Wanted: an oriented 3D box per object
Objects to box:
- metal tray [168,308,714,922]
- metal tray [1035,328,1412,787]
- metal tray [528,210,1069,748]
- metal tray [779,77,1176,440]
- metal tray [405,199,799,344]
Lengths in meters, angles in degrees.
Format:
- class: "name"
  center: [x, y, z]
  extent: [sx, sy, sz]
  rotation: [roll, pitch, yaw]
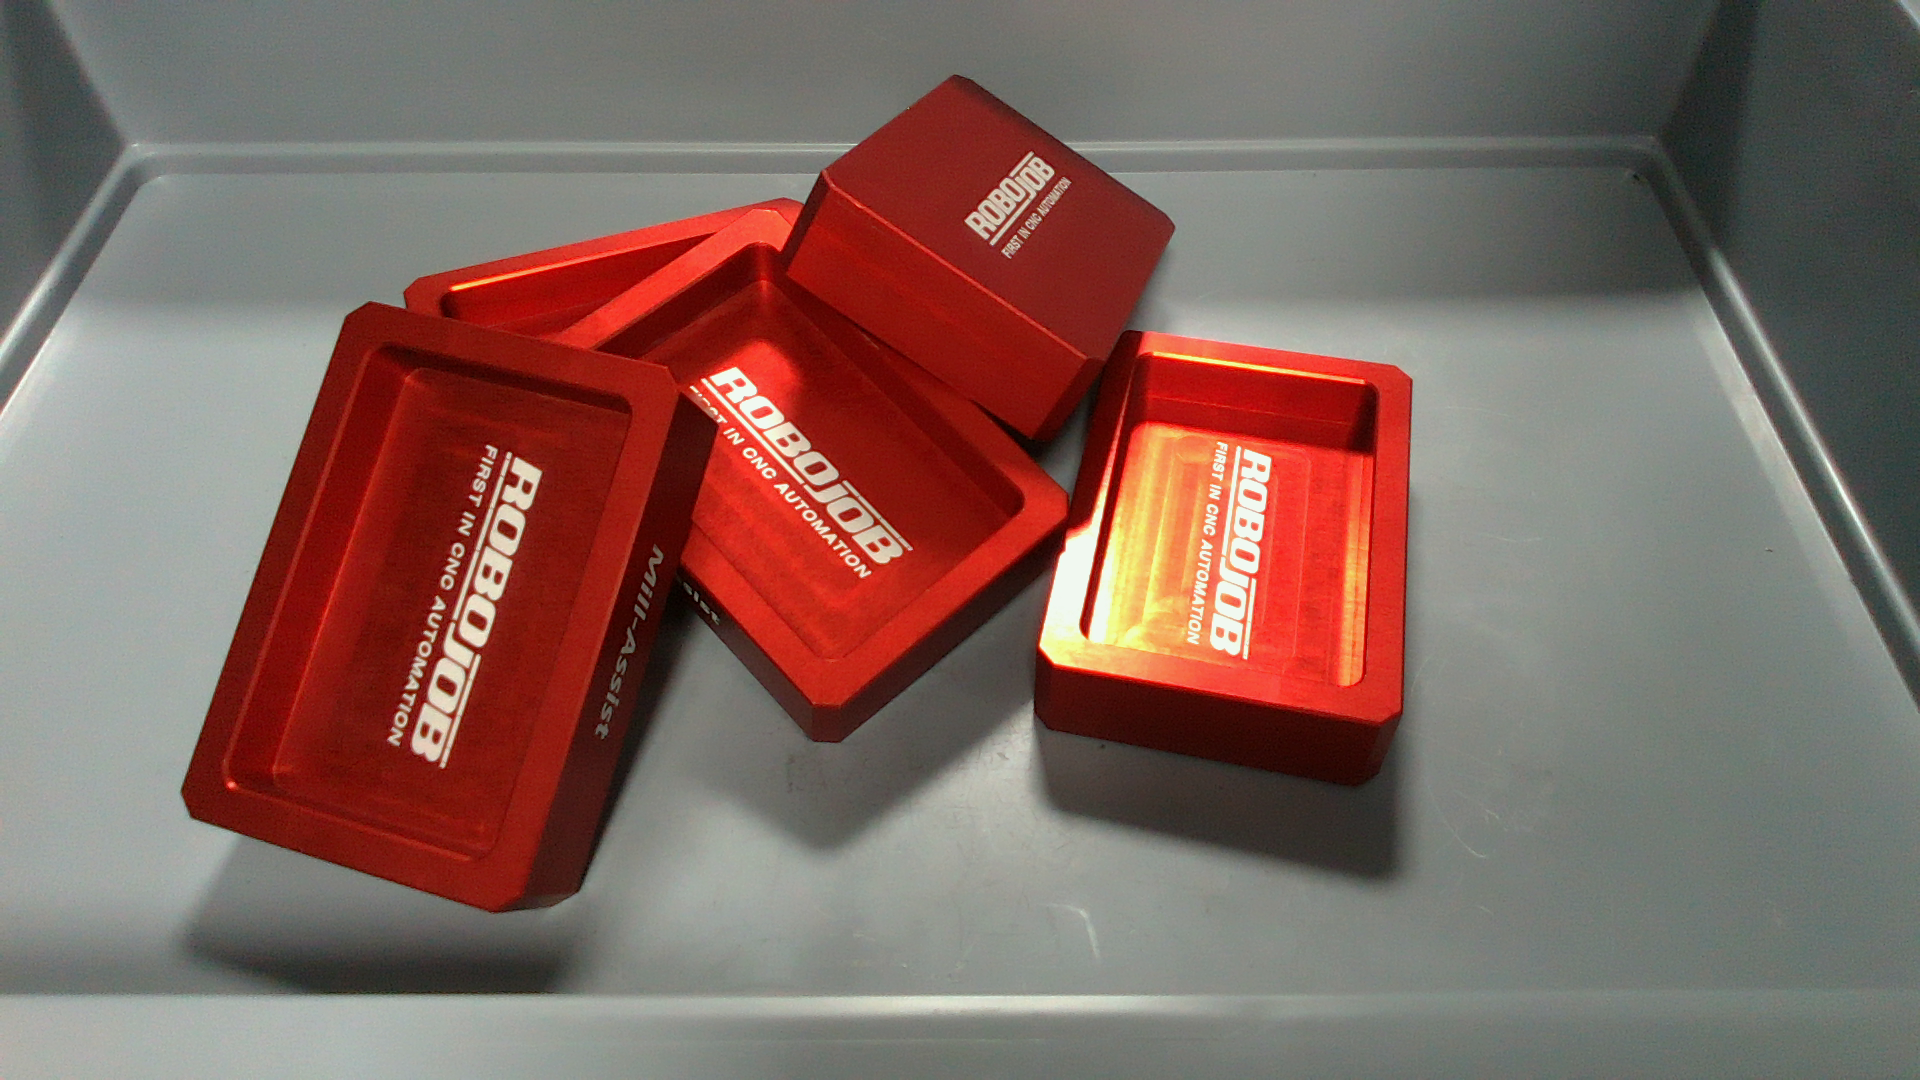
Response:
- class: "metal tray"
  center: [-0.123, 0.016, 0.335]
  extent: [0.090, 0.030, 0.130]
  rotation: [13, 80, 11]
- class: "metal tray"
  center: [0.077, -0.001, 0.387]
  extent: [0.090, 0.030, 0.130]
  rotation: [10, 51, 8]
- class: "metal tray"
  center: [-0.046, -0.020, 0.375]
  extent: [0.090, 0.030, 0.130]
  rotation: [-39, 75, -20]
- class: "metal tray"
  center: [0.012, -0.091, 0.419]
  extent: [0.090, 0.030, 0.130]
  rotation: [33, 34, -2]
- class: "metal tray"
  center: [-0.100, -0.058, 0.435]
  extent: [0.130, 0.030, 0.090]
  rotation: [-16, 52, -13]
